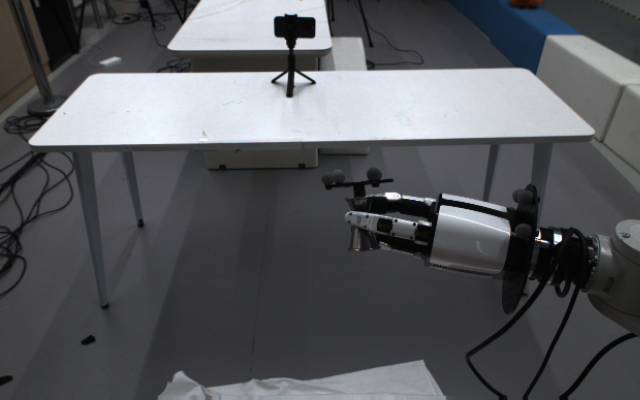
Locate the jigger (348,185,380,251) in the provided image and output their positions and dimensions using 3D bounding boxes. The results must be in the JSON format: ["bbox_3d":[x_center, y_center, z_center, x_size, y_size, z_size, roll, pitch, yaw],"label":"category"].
[{"bbox_3d":[0.054,0.030,0.625,0.043,0.071,0.043,-4,1,0],"label":"jigger"}]
